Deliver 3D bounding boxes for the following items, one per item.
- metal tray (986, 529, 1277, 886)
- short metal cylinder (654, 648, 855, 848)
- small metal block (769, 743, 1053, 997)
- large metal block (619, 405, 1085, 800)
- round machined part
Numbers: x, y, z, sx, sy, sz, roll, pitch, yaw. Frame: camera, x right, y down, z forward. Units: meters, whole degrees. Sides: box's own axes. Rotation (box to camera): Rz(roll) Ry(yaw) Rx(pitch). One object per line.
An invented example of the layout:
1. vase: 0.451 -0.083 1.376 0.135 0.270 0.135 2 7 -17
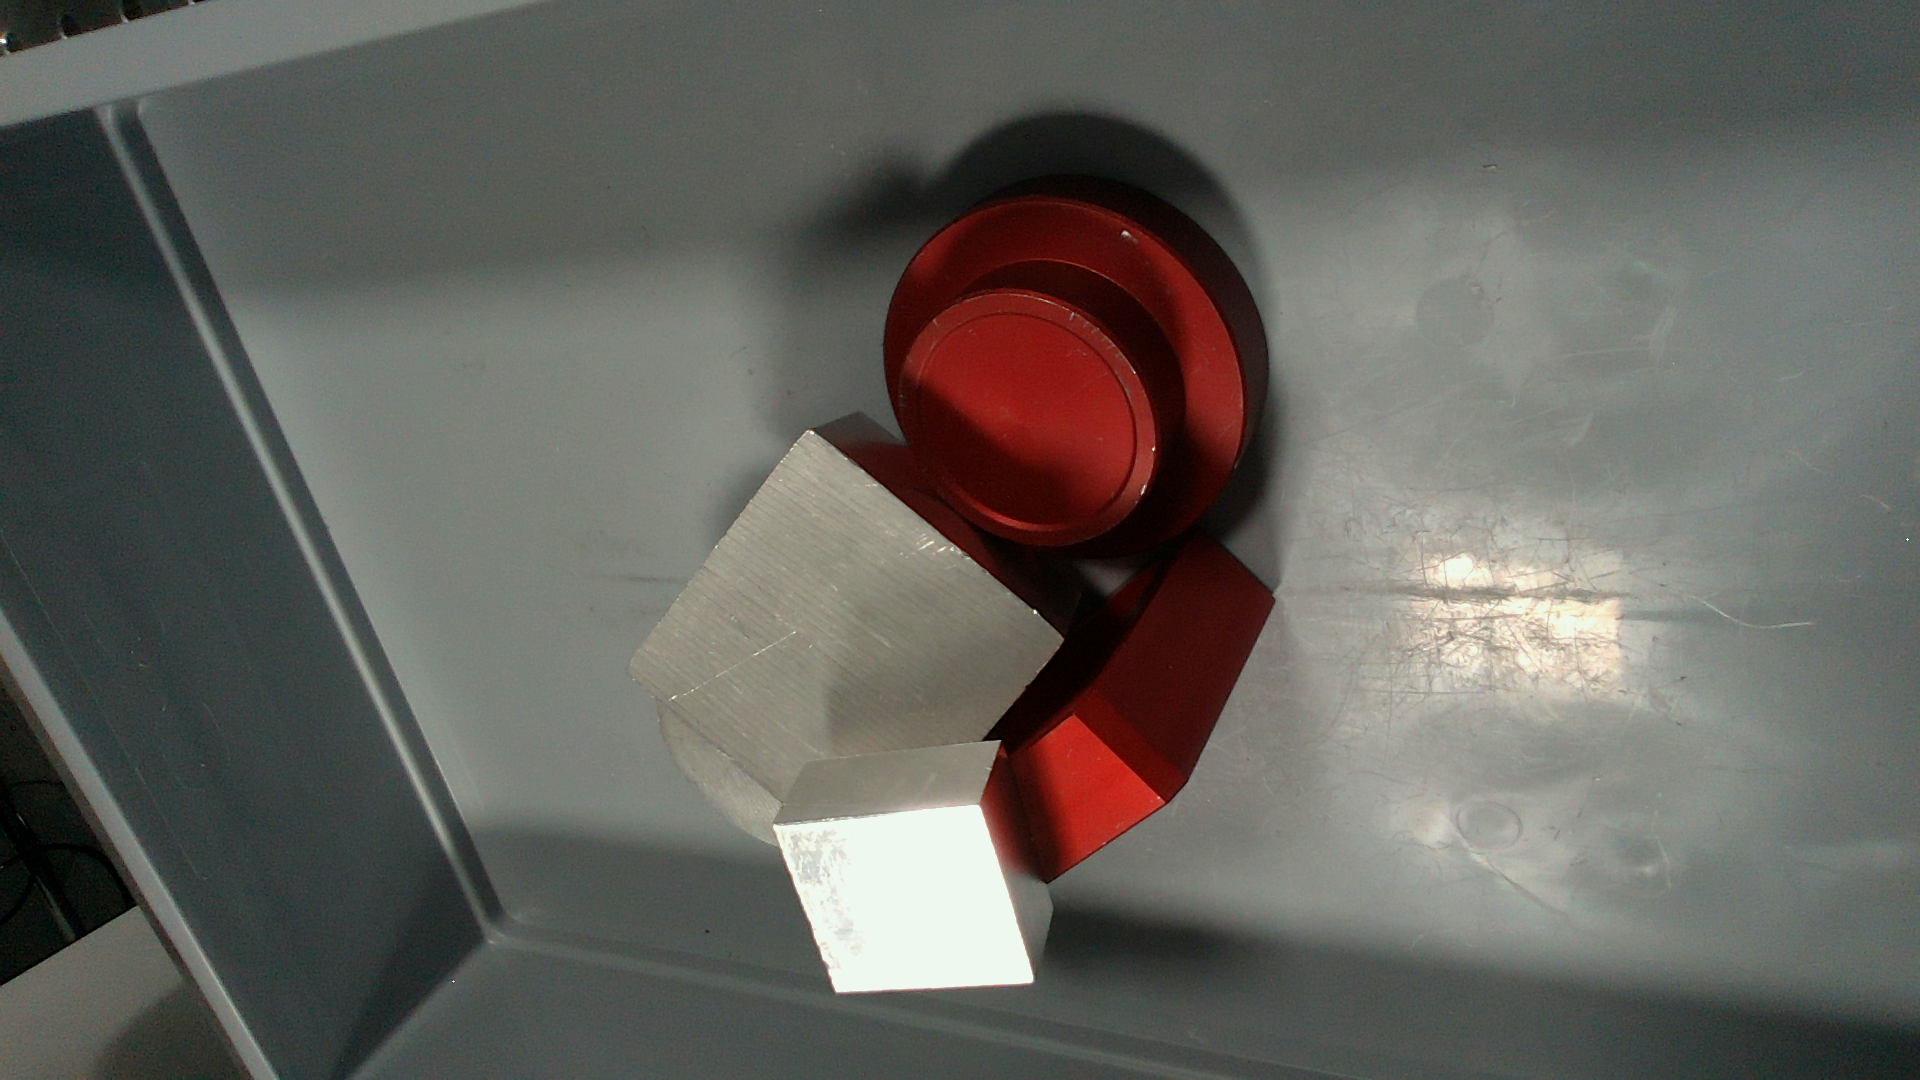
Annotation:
1. metal tray: 0.021 0.061 0.375 0.030 0.090 0.130 44 129 -1
2. short metal cylinder: -0.048 0.051 0.432 0.080 0.050 0.080 13 124 21
3. small metal block: -0.010 0.078 0.321 0.050 0.025 0.050 -9 114 18
4. large metal block: -0.026 0.023 0.357 0.080 0.050 0.080 40 105 1
5. round machined part: 0.023 -0.037 0.344 0.098 0.042 0.098 13 124 21
